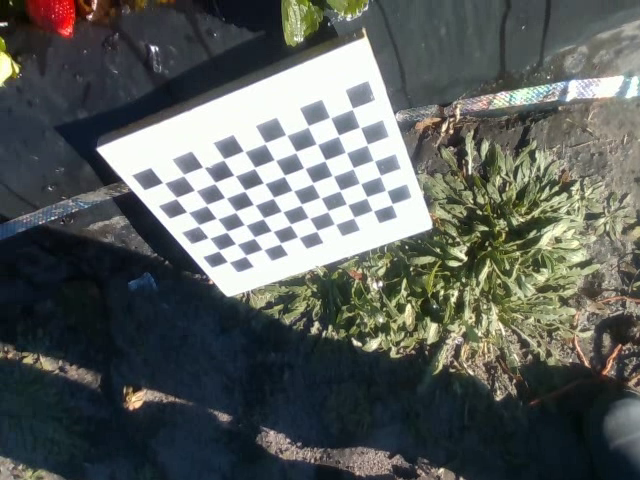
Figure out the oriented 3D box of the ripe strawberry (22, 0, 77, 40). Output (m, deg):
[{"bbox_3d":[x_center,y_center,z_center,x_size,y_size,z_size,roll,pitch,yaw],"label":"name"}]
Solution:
[{"bbox_3d":[-0.203,-0.172,0.462,0.042,0.053,0.040,-2,-41,-46],"label":"ripe strawberry"}]
